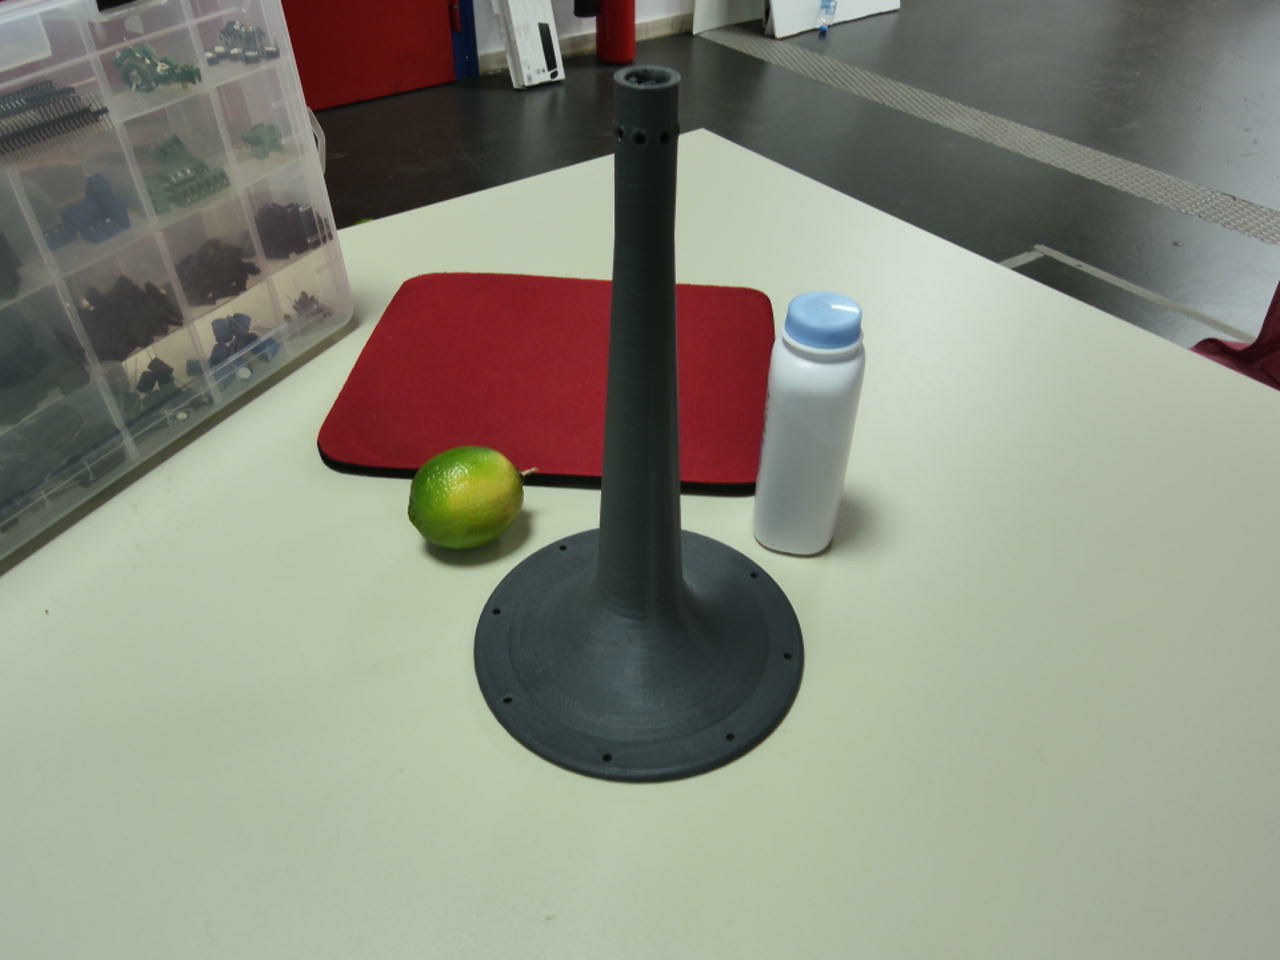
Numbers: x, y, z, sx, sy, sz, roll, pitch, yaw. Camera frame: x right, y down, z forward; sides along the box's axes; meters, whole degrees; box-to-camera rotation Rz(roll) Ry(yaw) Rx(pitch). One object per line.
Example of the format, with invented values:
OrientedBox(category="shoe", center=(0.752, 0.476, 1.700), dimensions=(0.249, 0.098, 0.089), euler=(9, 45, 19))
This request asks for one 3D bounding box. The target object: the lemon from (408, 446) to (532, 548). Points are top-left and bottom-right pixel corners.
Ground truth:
OrientedBox(category="lemon", center=(-0.087, 0.008, 0.502), dimensions=(0.055, 0.050, 0.054), euler=(8, 38, 9))
